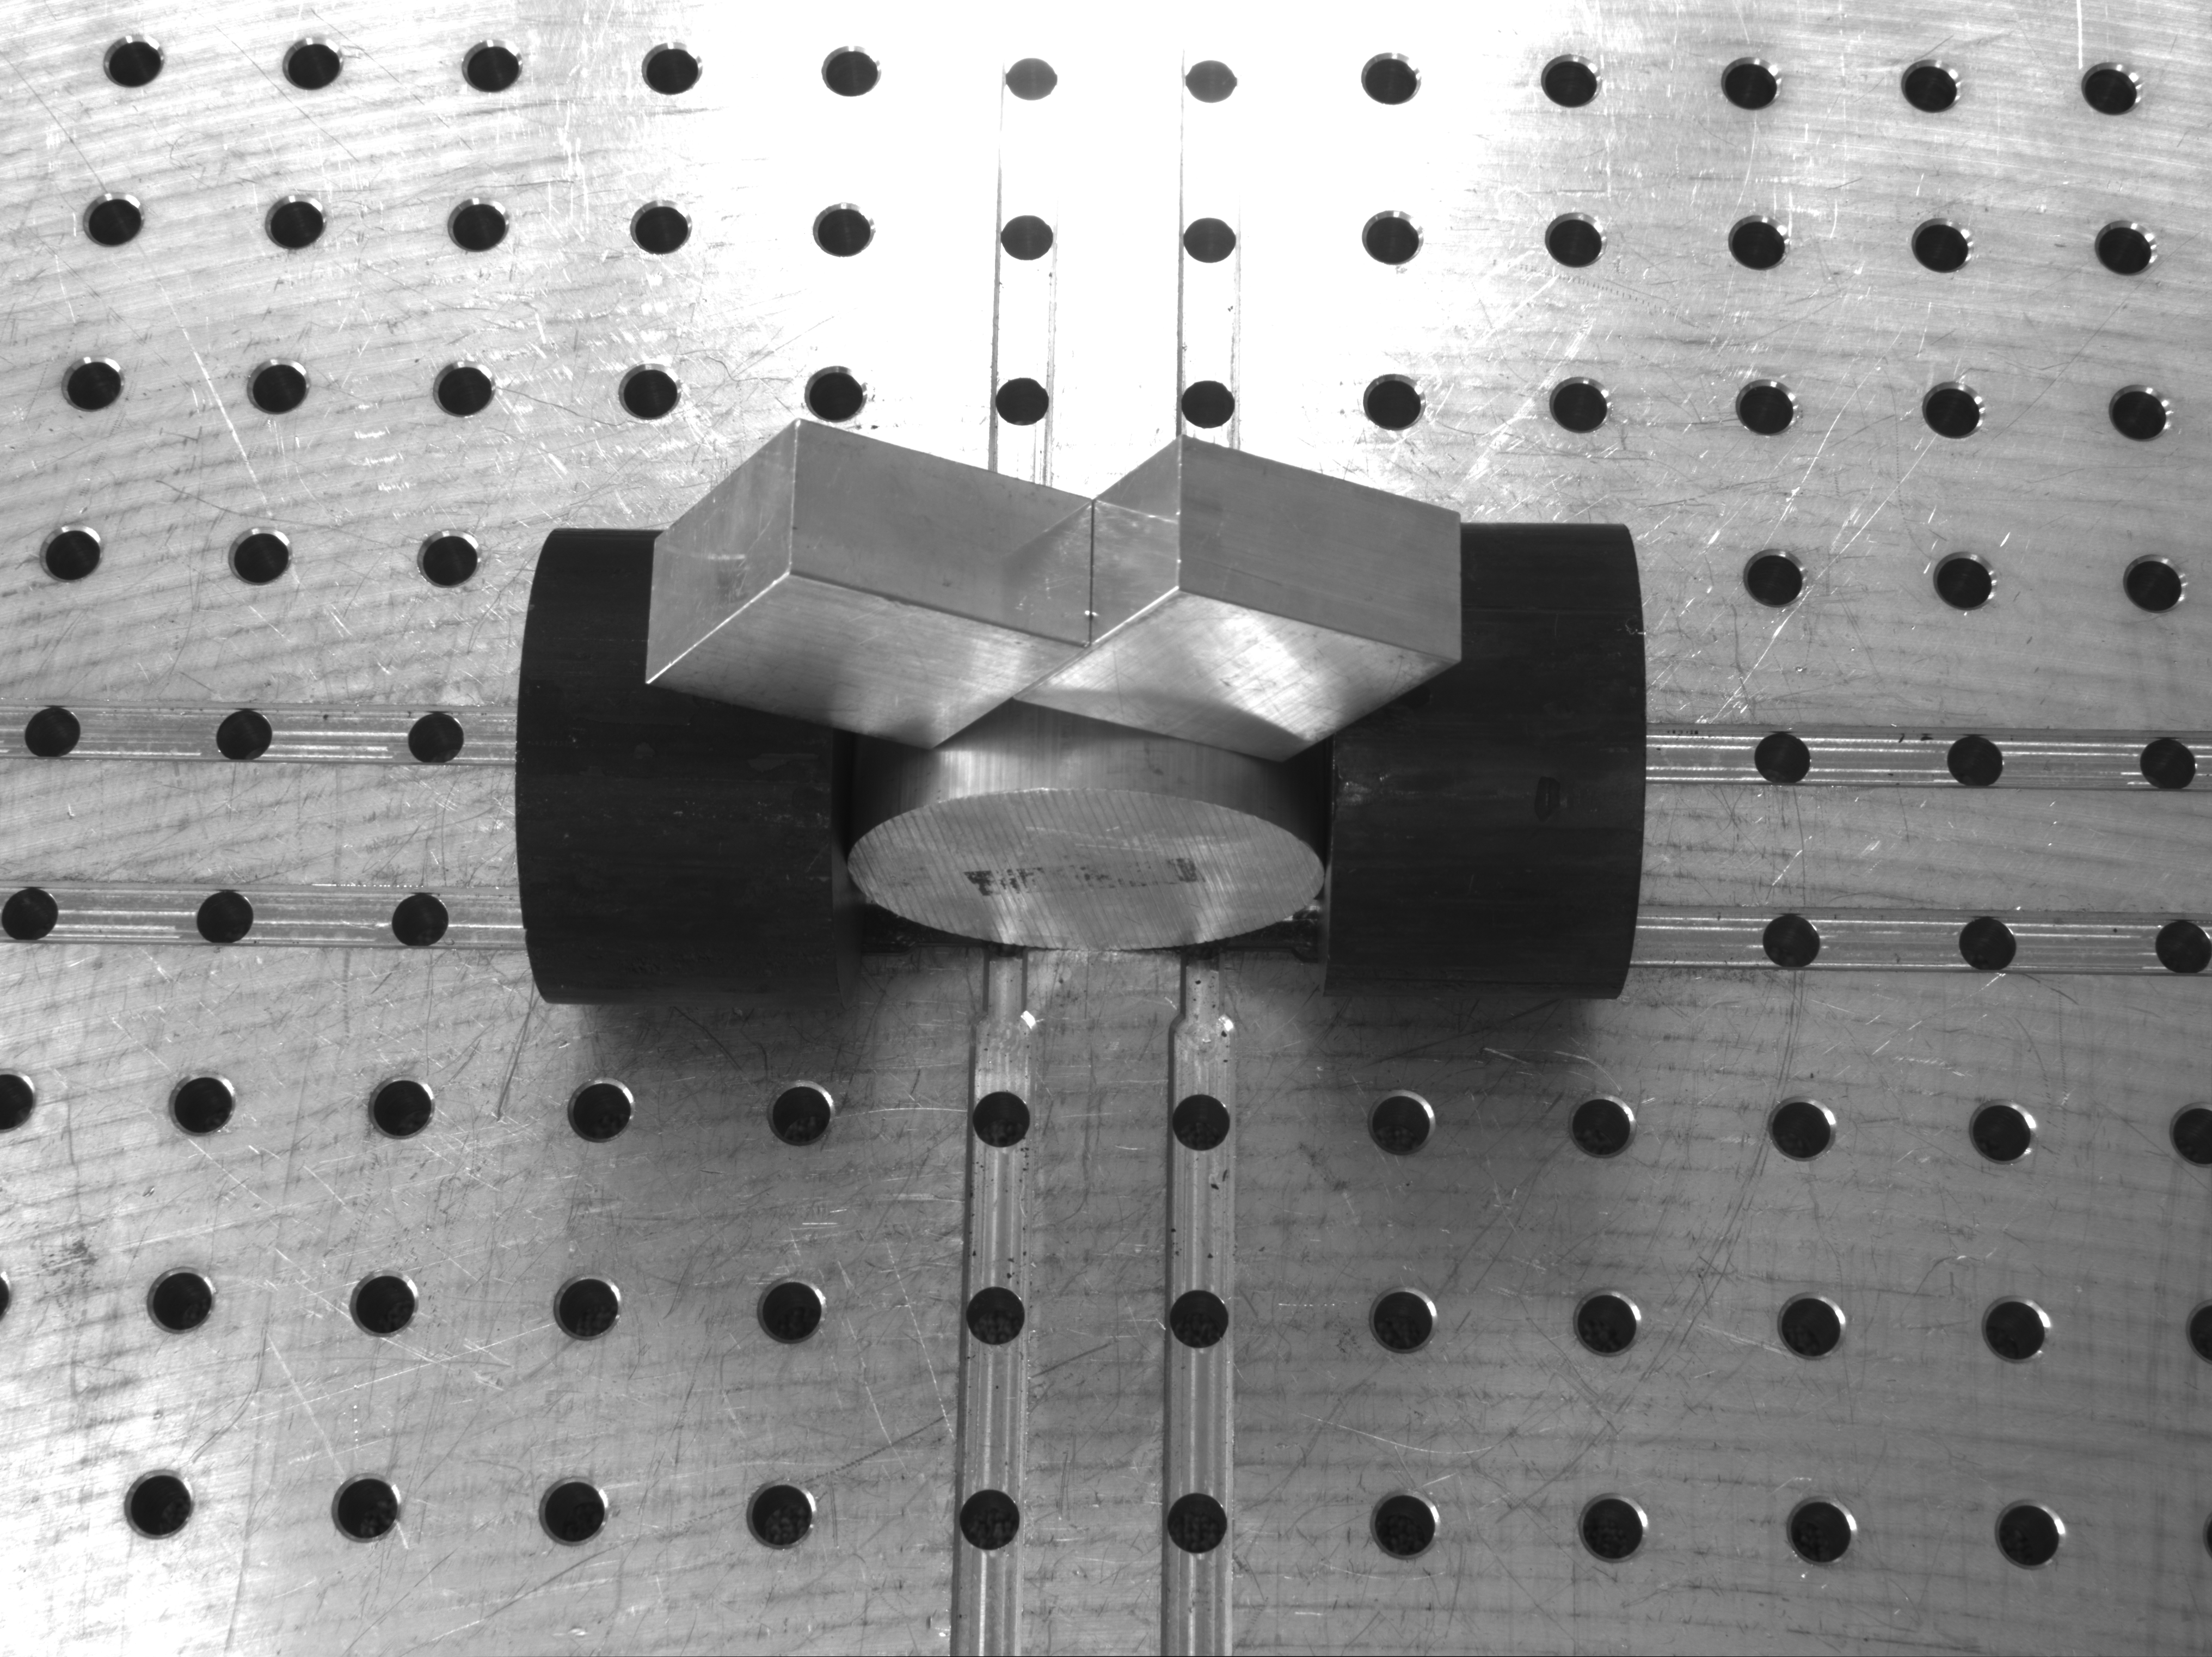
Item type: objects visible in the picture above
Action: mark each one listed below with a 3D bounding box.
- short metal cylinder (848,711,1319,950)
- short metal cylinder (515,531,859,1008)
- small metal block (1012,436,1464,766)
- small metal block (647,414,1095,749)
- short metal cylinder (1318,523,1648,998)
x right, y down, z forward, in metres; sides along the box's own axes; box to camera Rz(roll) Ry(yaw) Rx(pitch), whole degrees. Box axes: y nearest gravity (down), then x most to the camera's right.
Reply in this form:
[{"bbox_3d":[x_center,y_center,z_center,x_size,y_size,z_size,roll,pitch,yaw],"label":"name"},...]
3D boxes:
[{"bbox_3d":[-0.003,-0.016,0.624,0.080,0.080,0.050,1,70,1],"label":"short metal cylinder"},{"bbox_3d":[-0.068,-0.010,0.622,0.050,0.080,0.080,1,70,1],"label":"short metal cylinder"},{"bbox_3d":[0.020,-0.034,0.565,0.050,0.050,0.025,12,67,-28],"label":"small metal block"},{"bbox_3d":[-0.036,-0.036,0.562,0.050,0.050,0.025,13,67,-29],"label":"small metal block"},{"bbox_3d":[0.062,-0.012,0.622,0.050,0.080,0.080,0,70,1],"label":"short metal cylinder"}]
